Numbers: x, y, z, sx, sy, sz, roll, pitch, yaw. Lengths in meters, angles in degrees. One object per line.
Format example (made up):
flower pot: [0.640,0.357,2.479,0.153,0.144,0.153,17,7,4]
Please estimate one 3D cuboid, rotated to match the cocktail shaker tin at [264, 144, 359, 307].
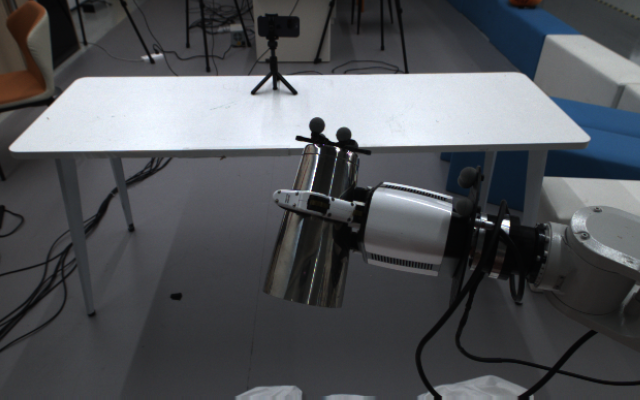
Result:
cocktail shaker tin: [-0.001,0.028,0.551,0.093,0.170,0.093,12,-5,1]
